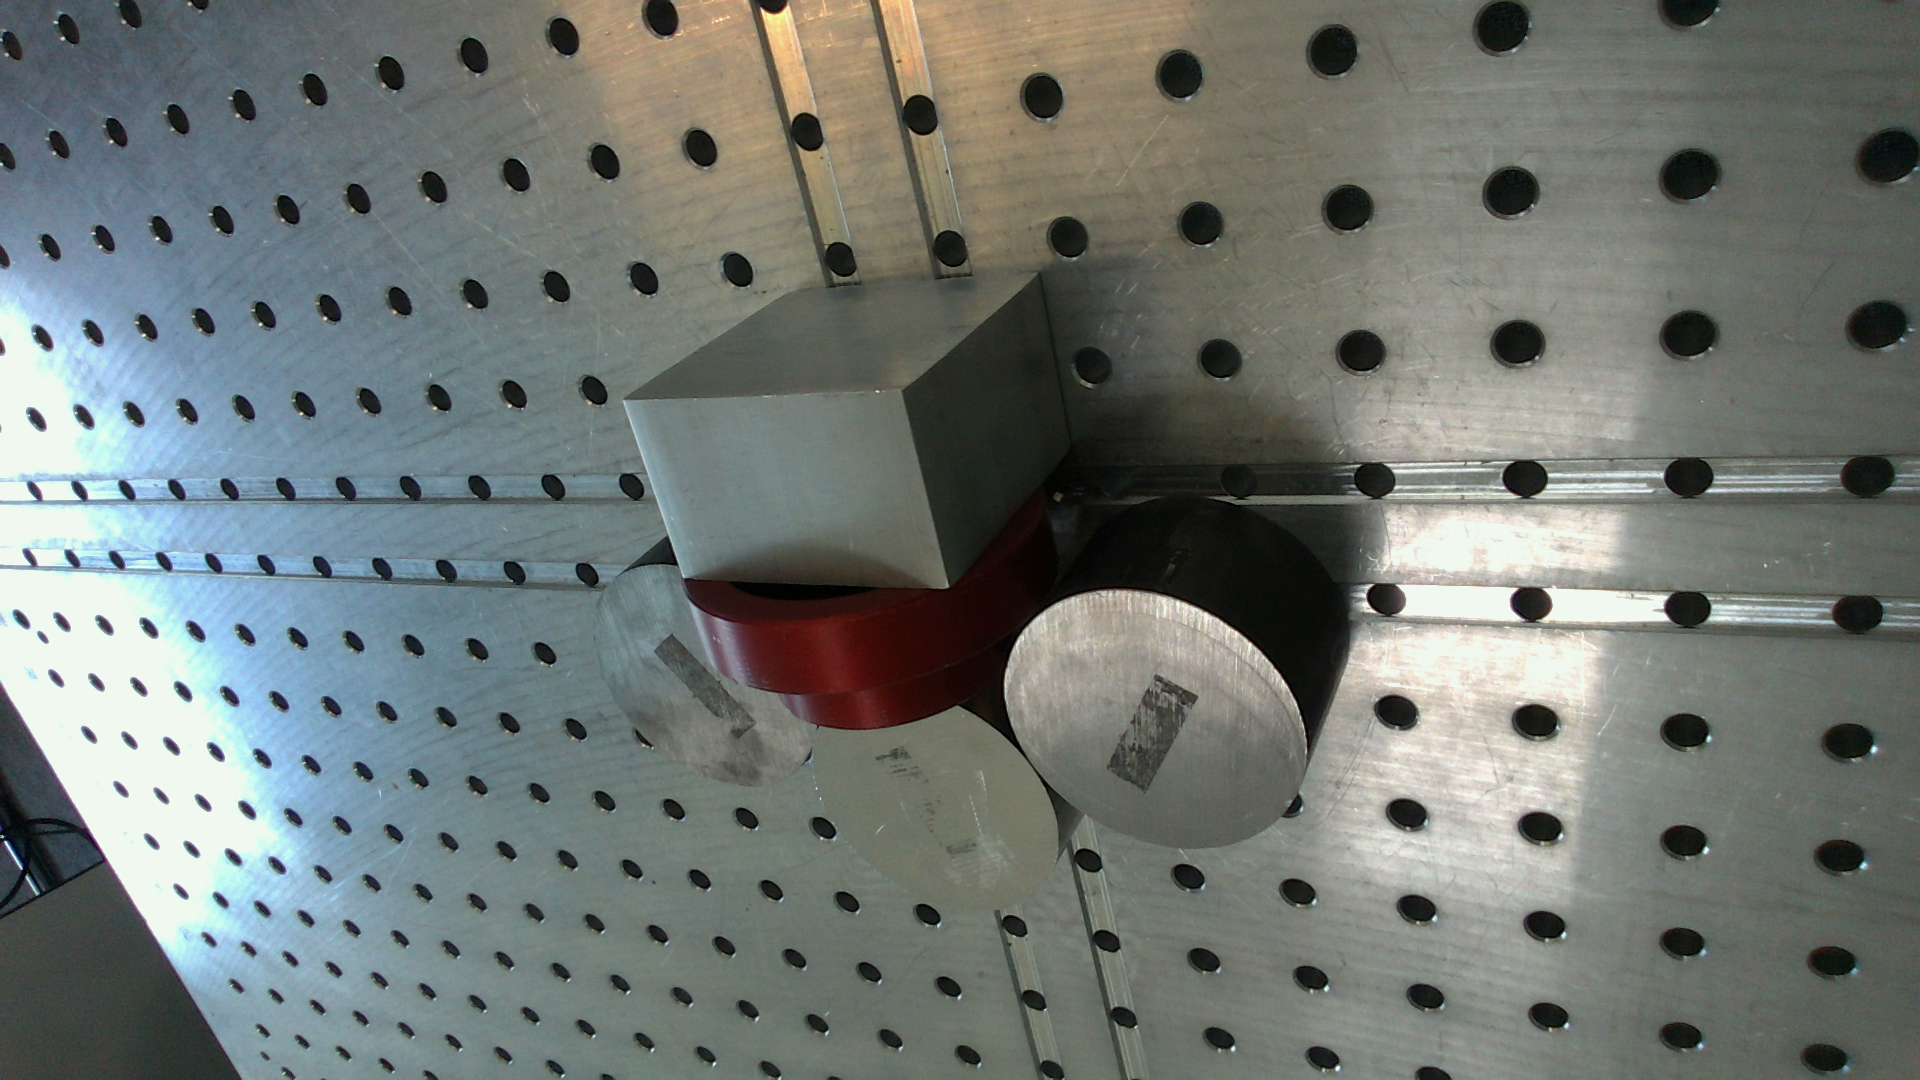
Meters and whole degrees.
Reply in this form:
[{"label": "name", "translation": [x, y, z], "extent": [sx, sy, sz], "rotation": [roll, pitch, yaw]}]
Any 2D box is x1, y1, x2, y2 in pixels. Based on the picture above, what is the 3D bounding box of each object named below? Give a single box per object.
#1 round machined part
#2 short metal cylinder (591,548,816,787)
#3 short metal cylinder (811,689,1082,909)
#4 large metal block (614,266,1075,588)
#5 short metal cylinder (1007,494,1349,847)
[{"label": "round machined part", "translation": [-0.022, 0.016, 0.368], "extent": [0.098, 0.098, 0.042], "rotation": [2, 119, 27]}, {"label": "short metal cylinder", "translation": [-0.068, 0.030, 0.435], "extent": [0.080, 0.050, 0.080], "rotation": [13, 124, 21]}, {"label": "short metal cylinder", "translation": [0.002, 0.064, 0.419], "extent": [0.080, 0.050, 0.080], "rotation": [13, 124, 21]}, {"label": "large metal block", "translation": [-0.026, -0.030, 0.355], "extent": [0.080, 0.080, 0.050], "rotation": [1, 119, 28]}, {"label": "short metal cylinder", "translation": [0.059, 0.035, 0.370], "extent": [0.080, 0.050, 0.080], "rotation": [13, 124, 21]}]
